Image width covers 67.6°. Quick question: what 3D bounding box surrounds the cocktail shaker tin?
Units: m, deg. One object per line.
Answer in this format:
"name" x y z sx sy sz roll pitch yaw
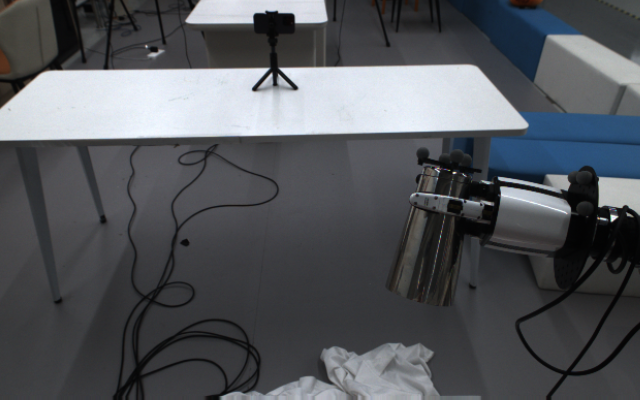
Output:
"cocktail shaker tin" 0.154 0.042 0.652 0.093 0.170 0.093 12 3 -1
